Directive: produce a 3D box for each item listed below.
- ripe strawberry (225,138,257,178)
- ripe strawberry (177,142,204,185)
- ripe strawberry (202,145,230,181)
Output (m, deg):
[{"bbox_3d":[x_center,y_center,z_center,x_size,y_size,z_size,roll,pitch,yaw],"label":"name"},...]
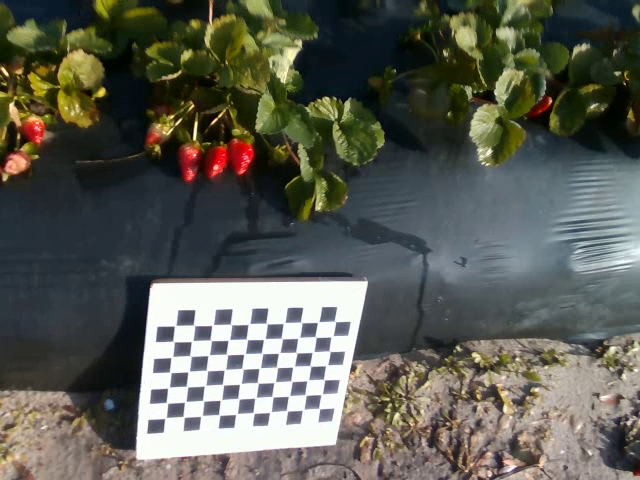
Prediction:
[{"bbox_3d":[-0.091,-0.086,1.037,0.035,0.041,0.034,-4,-25,-15],"label":"ripe strawberry"},{"bbox_3d":[-0.147,-0.087,1.023,0.031,0.046,0.023,0,10,-16],"label":"ripe strawberry"},{"bbox_3d":[-0.117,-0.085,1.025,0.030,0.039,0.037,10,-42,-20],"label":"ripe strawberry"}]
